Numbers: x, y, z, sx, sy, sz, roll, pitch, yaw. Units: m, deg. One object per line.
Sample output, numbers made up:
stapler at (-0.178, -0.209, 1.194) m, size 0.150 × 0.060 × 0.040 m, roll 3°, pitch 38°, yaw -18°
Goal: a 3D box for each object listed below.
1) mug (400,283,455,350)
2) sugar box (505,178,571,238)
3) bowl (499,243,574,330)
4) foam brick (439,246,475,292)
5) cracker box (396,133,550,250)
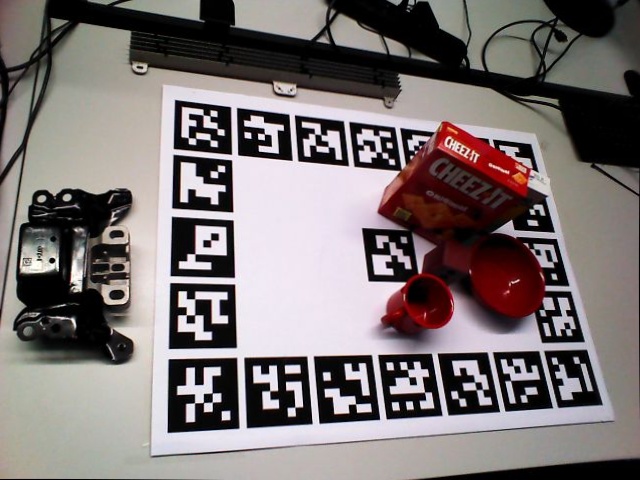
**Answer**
mug at (0.184, 0.131, 0.841) m, size 0.117 × 0.082 × 0.093 m, roll -6°, pitch 62°, yaw -20°
sugar box at (0.352, -0.067, 0.933) m, size 0.093 × 0.177 × 0.045 m, roll 23°, pitch 62°, yaw -8°
bowl at (0.372, 0.088, 0.932) m, size 0.161 × 0.055 × 0.161 m, roll 7°, pitch 67°, yaw -17°
foam brick at (0.253, 0.054, 0.909) m, size 0.053 × 0.078 × 0.051 m, roll 18°, pitch 62°, yaw -11°
cracker box at (0.253, -0.068, 0.879) m, size 0.164 × 0.215 × 0.071 m, roll 31°, pitch 59°, yaw -6°
